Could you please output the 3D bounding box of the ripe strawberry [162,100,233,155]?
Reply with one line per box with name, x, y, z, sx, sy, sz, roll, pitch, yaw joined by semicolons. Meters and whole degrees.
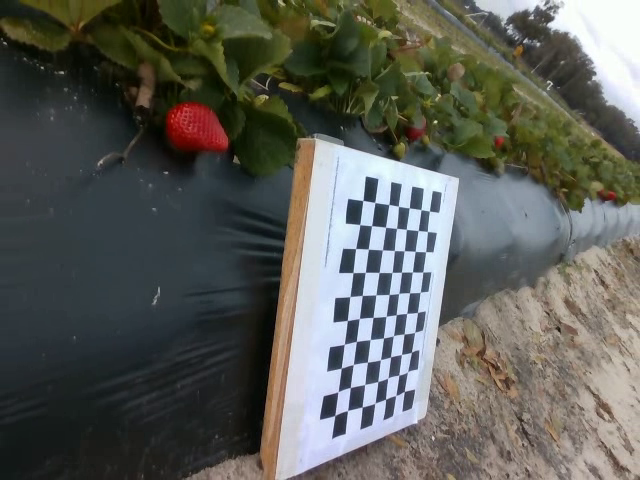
ripe strawberry;-0.072;-0.067;0.357;0.046;0.037;0.037;38;-28;8
